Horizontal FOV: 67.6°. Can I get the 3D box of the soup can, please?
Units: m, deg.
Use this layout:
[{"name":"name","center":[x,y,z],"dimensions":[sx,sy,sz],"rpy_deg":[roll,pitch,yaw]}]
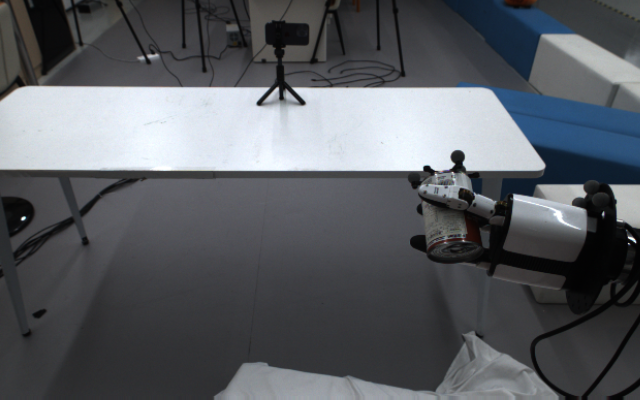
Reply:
[{"name":"soup can","center":[0.167,0.021,0.618],"dimensions":[0.067,0.067,0.101],"rpy_deg":[1,62,-2]}]
